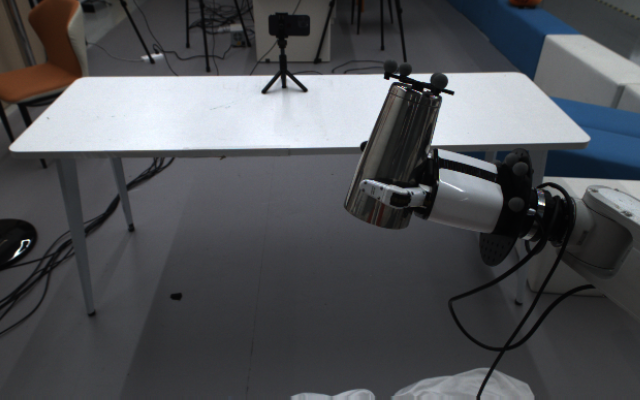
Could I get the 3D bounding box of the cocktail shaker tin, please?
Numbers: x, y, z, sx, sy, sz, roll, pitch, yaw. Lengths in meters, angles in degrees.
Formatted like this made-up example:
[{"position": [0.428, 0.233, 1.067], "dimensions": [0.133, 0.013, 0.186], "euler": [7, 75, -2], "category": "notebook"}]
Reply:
[{"position": [0.099, -0.059, 0.627], "dimensions": [0.093, 0.170, 0.093], "euler": [14, 20, -5], "category": "cocktail shaker tin"}]
